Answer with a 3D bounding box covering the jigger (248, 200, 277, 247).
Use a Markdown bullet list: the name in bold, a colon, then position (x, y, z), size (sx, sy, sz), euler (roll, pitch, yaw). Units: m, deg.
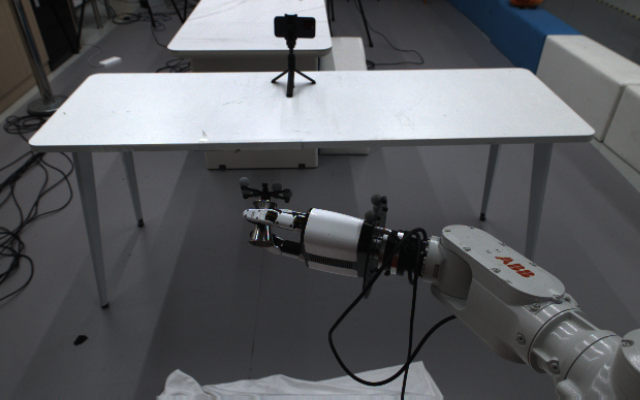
- **jigger**: position (-0.093, 0.037, 0.776), size (0.043, 0.043, 0.071), euler (3, 72, 1)
